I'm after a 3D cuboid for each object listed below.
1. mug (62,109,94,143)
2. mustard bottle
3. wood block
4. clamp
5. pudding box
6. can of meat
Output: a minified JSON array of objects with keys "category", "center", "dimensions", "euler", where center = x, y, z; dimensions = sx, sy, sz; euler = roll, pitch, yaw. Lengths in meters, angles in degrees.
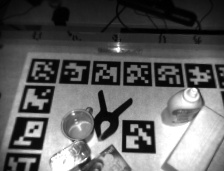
[{"category":"mug","center":[-0.093,0.121,0.664],"dimensions":[0.093,0.082,0.117],"euler":[20,67,10]},{"category":"mustard bottle","center":[0.202,0.048,0.615],"dimensions":[0.096,0.192,0.058],"euler":[-5,64,-1]},{"category":"wood block","center":[0.244,0.165,0.619],"dimensions":[0.089,0.091,0.207],"euler":[33,66,18]},{"category":"clamp","center":[-0.010,0.087,0.687],"dimensions":[0.121,0.037,0.165],"euler":[18,67,7]},{"category":"pudding box","center":[-0.007,0.236,0.607],"dimensions":[0.114,0.039,0.089],"euler":[-36,69,-18]},{"category":"can of meat","center":[-0.106,0.204,0.591],"dimensions":[0.102,0.084,0.057],"euler":[-28,67,-13]}]
